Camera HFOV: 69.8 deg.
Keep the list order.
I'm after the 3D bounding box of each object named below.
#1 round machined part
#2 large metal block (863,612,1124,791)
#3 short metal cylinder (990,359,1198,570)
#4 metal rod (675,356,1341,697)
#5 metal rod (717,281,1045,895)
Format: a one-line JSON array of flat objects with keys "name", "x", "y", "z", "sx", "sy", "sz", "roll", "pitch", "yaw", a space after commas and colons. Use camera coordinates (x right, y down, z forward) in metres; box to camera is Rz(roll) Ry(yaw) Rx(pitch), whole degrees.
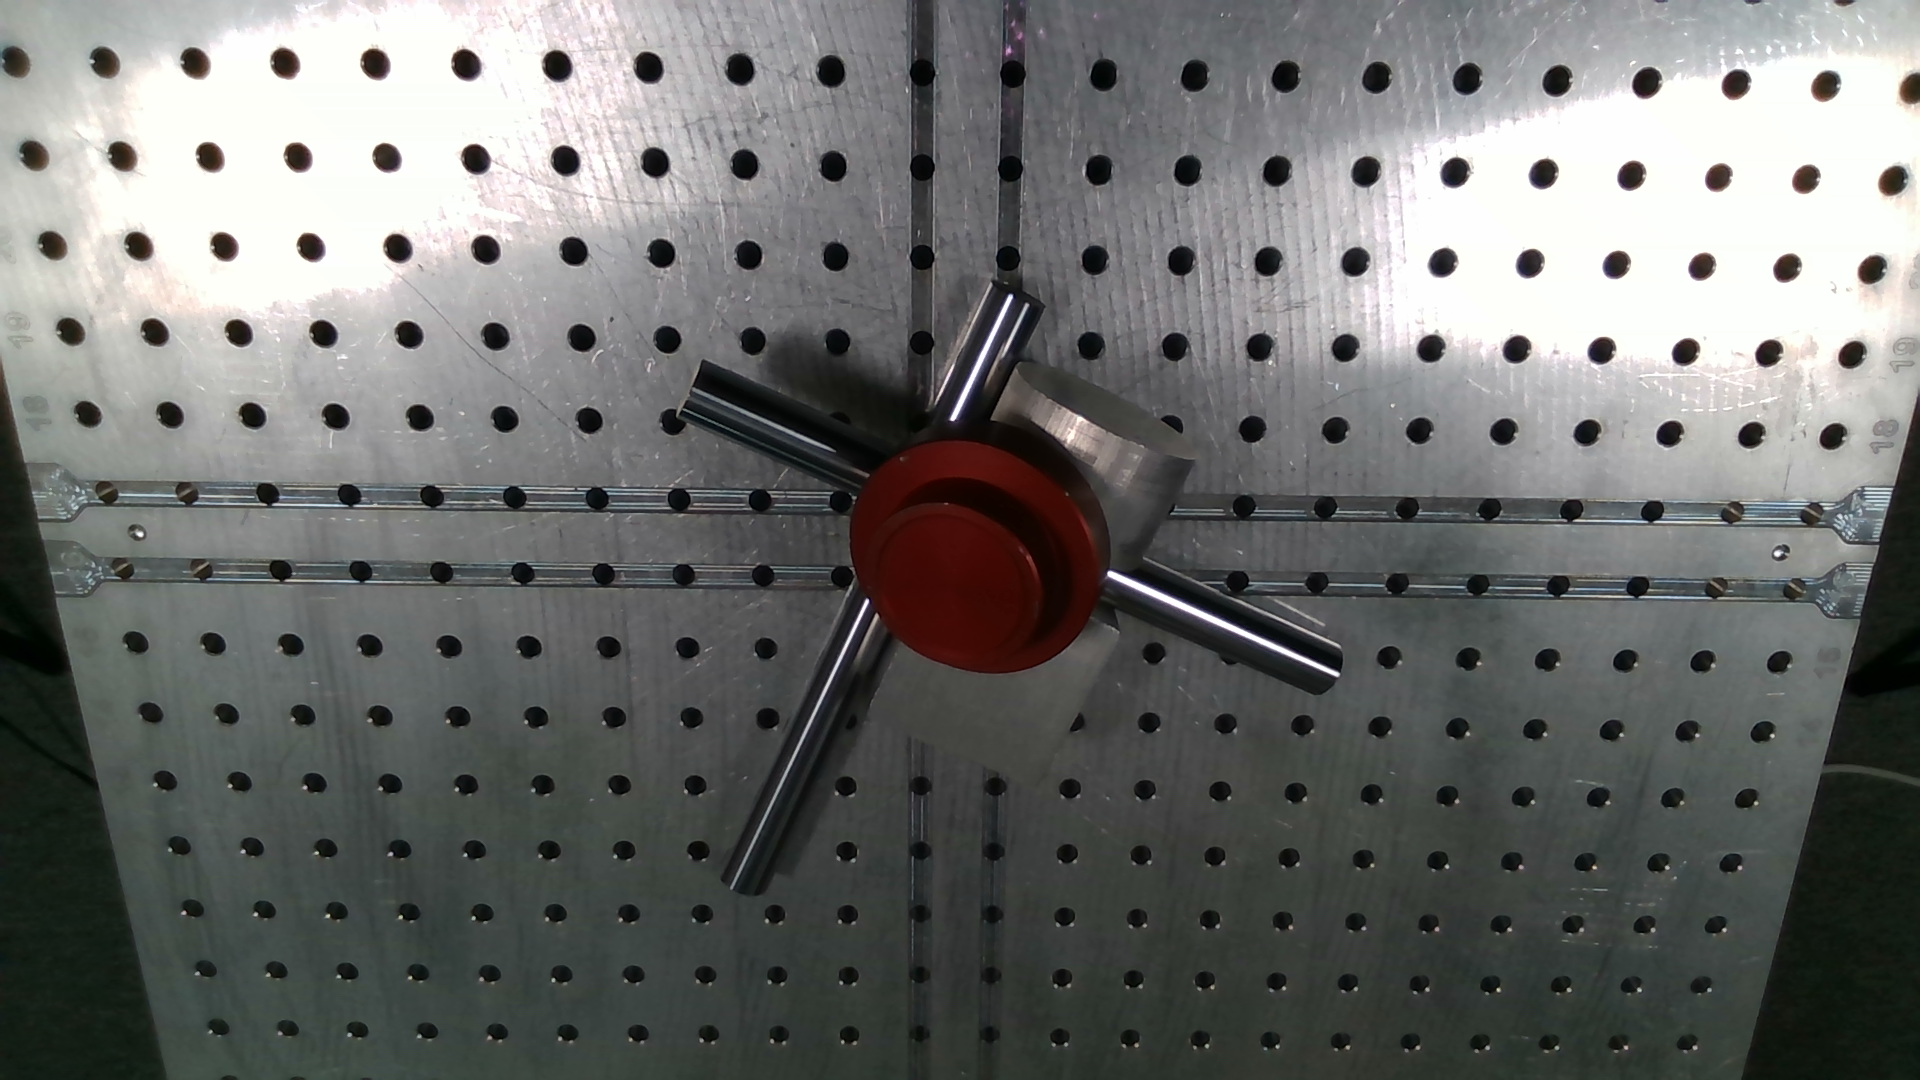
[{"name": "round machined part", "x": 0.003, "y": 0.008, "z": 0.511, "sx": 0.098, "sy": 0.042, "sz": 0.098, "roll": 9, "pitch": 119, "yaw": 17}, {"name": "large metal block", "x": 0.013, "y": 0.048, "z": 0.588, "sx": 0.080, "sy": 0.050, "sz": 0.080, "roll": 24, "pitch": 108, "yaw": -9}, {"name": "short metal cylinder", "x": 0.047, "y": -0.031, "z": 0.546, "sx": 0.080, "sy": 0.080, "sz": 0.050, "roll": 23, "pitch": 108, "yaw": -8}, {"name": "metal rod", "x": 0.028, "y": -0.001, "z": 0.566, "sx": 0.300, "sy": 0.025, "sz": 0.025, "roll": 24, "pitch": 109, "yaw": -16}, {"name": "metal rod", "x": -0.039, "y": 0.030, "z": 0.597, "sx": 0.025, "sy": 0.025, "sz": 0.301, "roll": 23, "pitch": 109, "yaw": -8}]
